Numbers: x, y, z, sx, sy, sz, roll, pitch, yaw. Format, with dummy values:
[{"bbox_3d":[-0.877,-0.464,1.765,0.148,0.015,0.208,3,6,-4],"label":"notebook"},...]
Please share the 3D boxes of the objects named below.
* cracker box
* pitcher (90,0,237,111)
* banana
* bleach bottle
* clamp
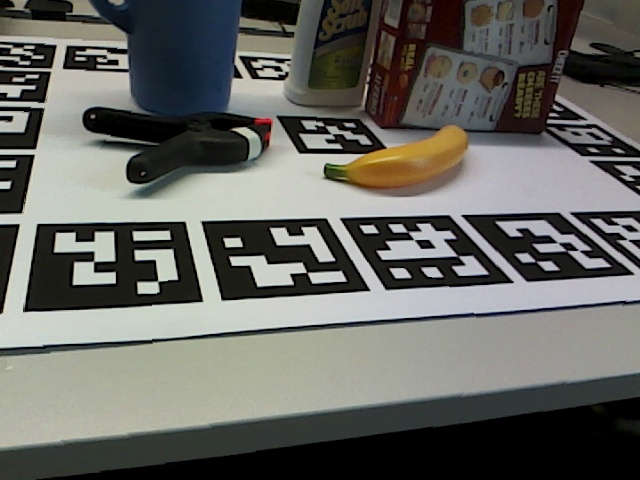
[{"bbox_3d":[0.177,-0.218,0.721,0.213,0.164,0.072,-3,29,-16],"label":"cracker box"},{"bbox_3d":[-0.151,-0.259,0.620,0.188,0.242,0.134,-12,34,-36],"label":"pitcher"},{"bbox_3d":[0.099,-0.078,0.629,0.075,0.039,0.196,26,34,30],"label":"banana"},{"bbox_3d":[0.012,-0.272,0.720,0.102,0.250,0.068,-3,30,-18],"label":"bleach bottle"},{"bbox_3d":[-0.116,-0.086,0.576,0.164,0.036,0.123,-12,33,-33],"label":"clamp"}]
